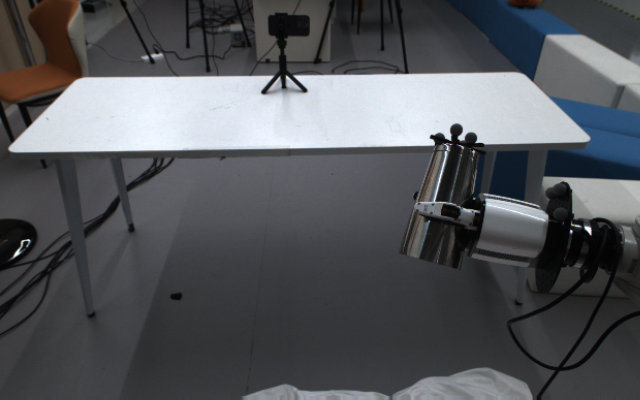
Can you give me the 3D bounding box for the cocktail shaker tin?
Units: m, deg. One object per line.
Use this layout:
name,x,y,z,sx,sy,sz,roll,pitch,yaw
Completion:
cocktail shaker tin,0.181,0.007,0.711,0.093,0.170,0.093,16,-4,1
